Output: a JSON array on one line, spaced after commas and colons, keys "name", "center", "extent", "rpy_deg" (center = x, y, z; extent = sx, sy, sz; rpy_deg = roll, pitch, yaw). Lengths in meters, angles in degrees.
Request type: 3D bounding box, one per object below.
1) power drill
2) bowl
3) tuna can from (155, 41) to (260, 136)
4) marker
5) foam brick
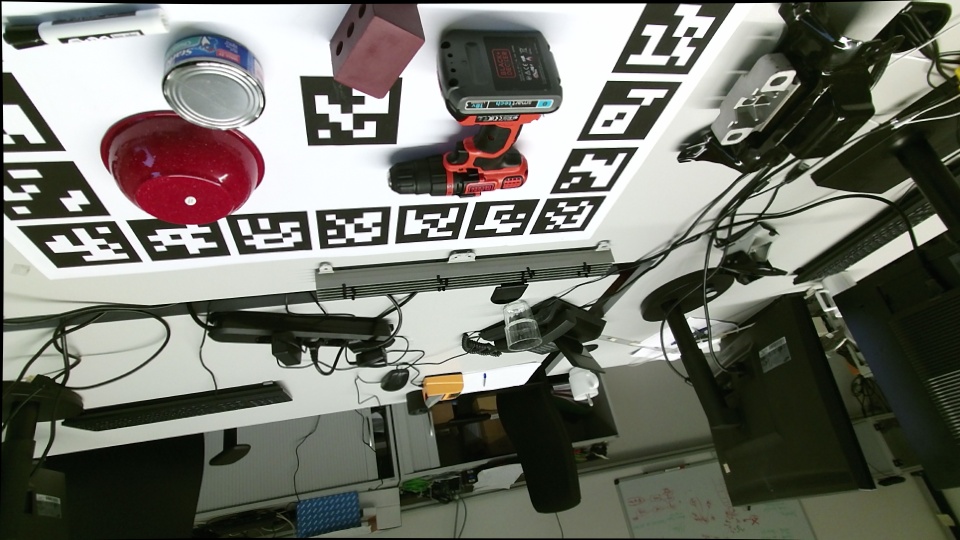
[{"name": "power drill", "center": [-0.007, -0.160, 0.604], "extent": [0.185, 0.057, 0.187], "rpy_deg": [-3, 153, -12]}, {"name": "bowl", "center": [-0.321, -0.097, 0.594], "extent": [0.162, 0.055, 0.162], "rpy_deg": [-13, 160, -5]}, {"name": "tuna can", "center": [-0.250, -0.167, 0.497], "extent": [0.086, 0.033, 0.086], "rpy_deg": [-9, 152, -5]}, {"name": "marker", "center": [-0.325, -0.190, 0.434], "extent": [0.121, 0.019, 0.020], "rpy_deg": [-10, 151, -6]}, {"name": "foam brick", "center": [-0.099, -0.209, 0.481], "extent": [0.051, 0.052, 0.078], "rpy_deg": [10, 143, -35]}]
